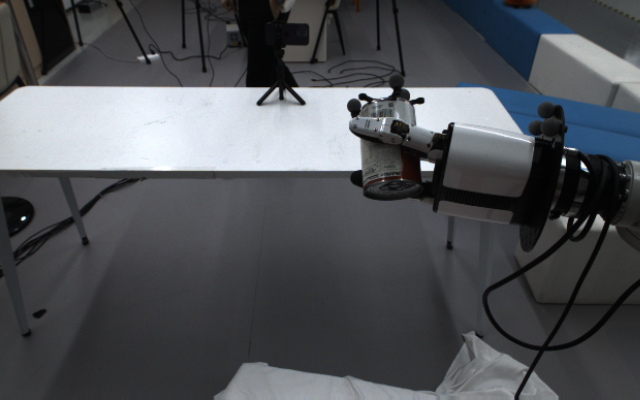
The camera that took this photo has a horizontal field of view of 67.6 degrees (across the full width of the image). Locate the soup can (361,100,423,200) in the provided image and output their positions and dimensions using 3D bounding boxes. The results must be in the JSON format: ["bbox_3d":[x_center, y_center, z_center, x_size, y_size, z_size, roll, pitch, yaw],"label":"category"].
[{"bbox_3d":[0.080,-0.060,0.559,0.067,0.067,0.101,-1,72,-4],"label":"soup can"}]
